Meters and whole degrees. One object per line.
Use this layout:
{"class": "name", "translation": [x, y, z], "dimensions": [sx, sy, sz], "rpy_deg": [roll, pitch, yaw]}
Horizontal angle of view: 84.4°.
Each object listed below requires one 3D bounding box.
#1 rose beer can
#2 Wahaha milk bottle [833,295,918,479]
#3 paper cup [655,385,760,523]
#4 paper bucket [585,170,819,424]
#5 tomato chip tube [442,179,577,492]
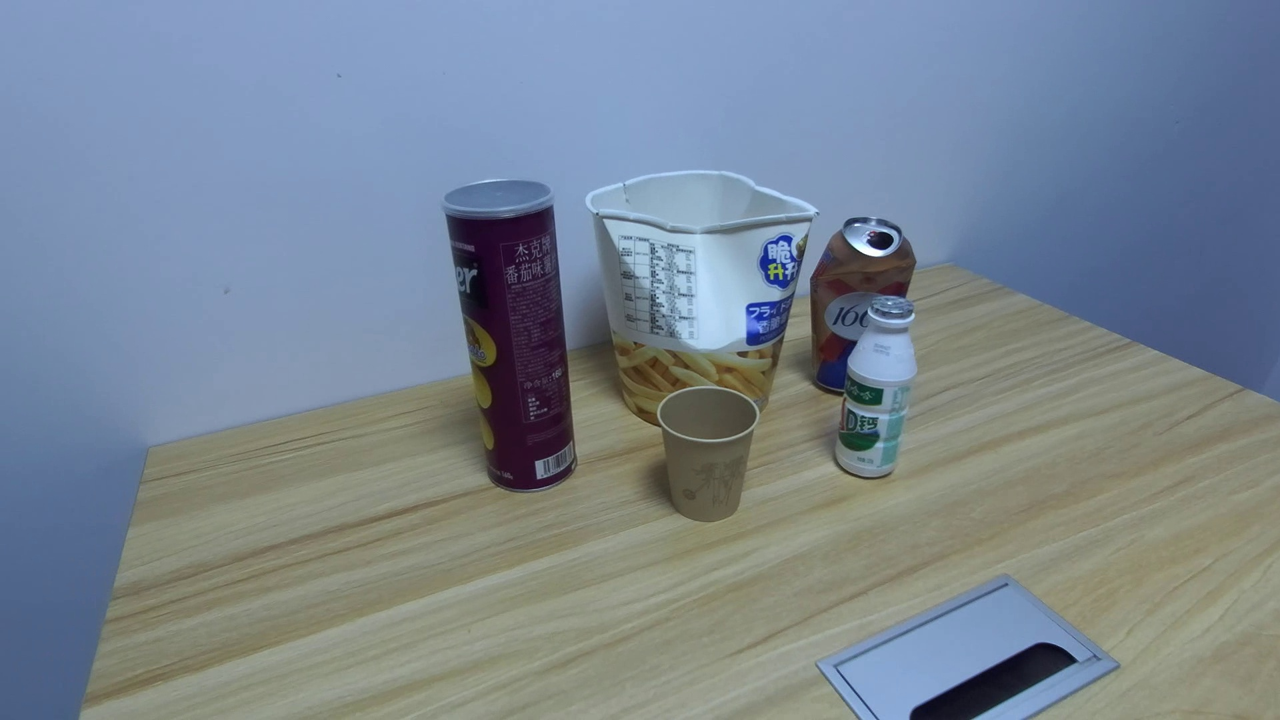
{"class": "rose beer can", "translation": [0.206, -0.049, 0.667], "dimensions": [0.069, 0.168, 0.069], "rpy_deg": [-23, 40, -26]}
{"class": "Wahaha milk bottle", "translation": [0.188, 0.022, 0.559], "dimensions": [0.053, 0.147, 0.053], "rpy_deg": [-1, 28, 1]}
{"class": "paper cup", "translation": [0.051, 0.074, 0.538], "dimensions": [0.075, 0.082, 0.075], "rpy_deg": [-1, 29, 1]}
{"class": "paper bucket", "translation": [0.043, -0.053, 0.649], "dimensions": [0.163, 0.202, 0.168], "rpy_deg": [-15, 29, -21]}
{"class": "tomato chip tube", "translation": [-0.094, -0.012, 0.548], "dimensions": [0.078, 0.234, 0.078], "rpy_deg": [-2, 29, 1]}
